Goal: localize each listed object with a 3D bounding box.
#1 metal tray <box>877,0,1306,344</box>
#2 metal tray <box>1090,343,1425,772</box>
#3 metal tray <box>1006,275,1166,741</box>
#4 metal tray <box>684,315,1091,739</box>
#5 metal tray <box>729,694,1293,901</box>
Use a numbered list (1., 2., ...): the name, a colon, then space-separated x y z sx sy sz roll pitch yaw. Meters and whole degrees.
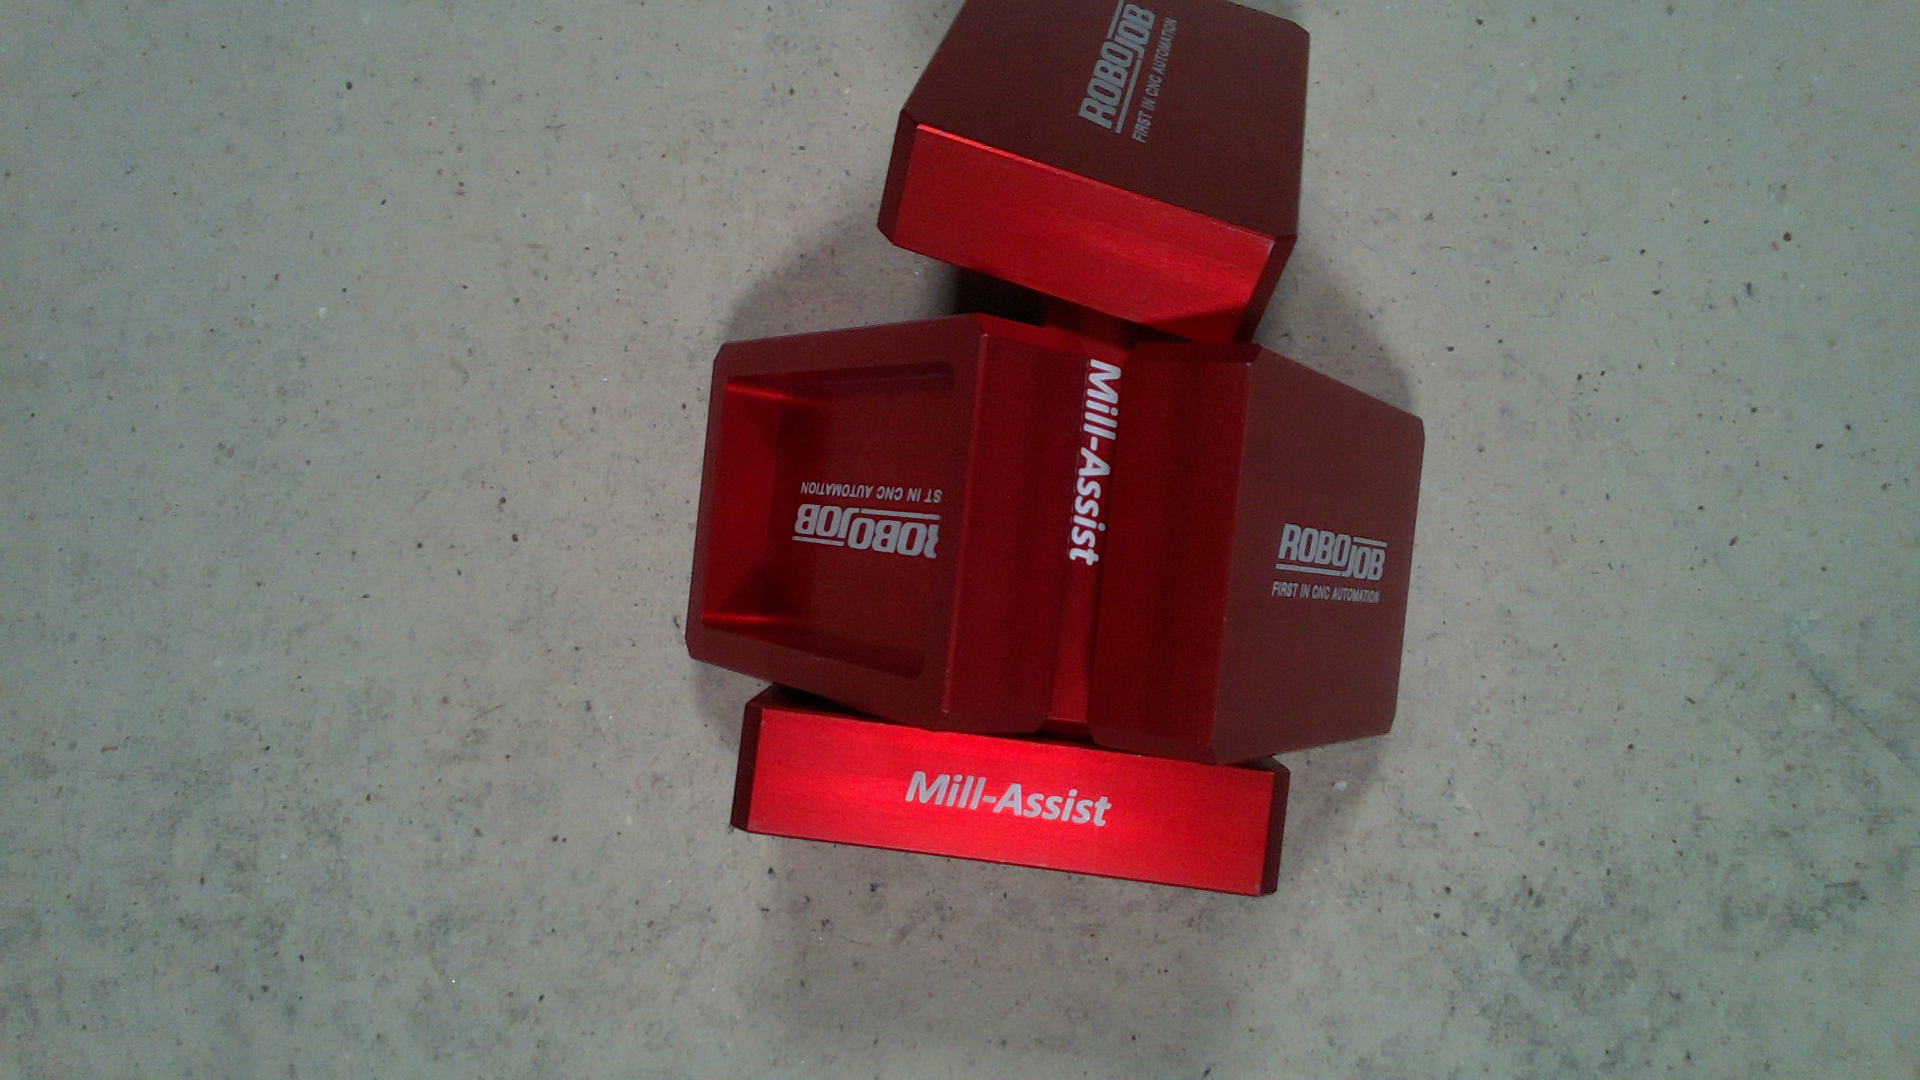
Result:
1. metal tray: 0.039 -0.107 0.349 0.090 0.130 0.030 18 131 0
2. metal tray: 0.080 0.006 0.346 0.030 0.131 0.090 6 91 33
3. metal tray: 0.032 -0.018 0.363 0.030 0.090 0.130 7 90 0
4. metal tray: -0.025 -0.006 0.347 0.030 0.129 0.090 6 90 -36
5. metal tray: 0.012 0.061 0.363 0.130 0.090 0.030 7 90 0
